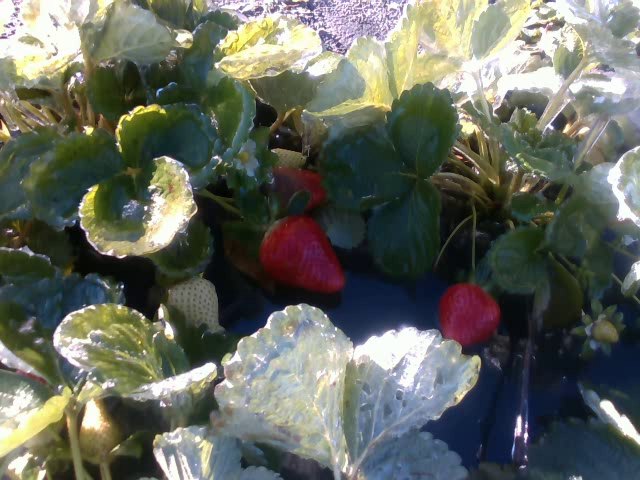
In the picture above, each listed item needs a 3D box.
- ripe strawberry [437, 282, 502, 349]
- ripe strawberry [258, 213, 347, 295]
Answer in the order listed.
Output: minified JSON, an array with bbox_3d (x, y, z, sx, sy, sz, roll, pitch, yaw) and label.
[{"bbox_3d":[0.081,0.044,0.326,0.039,0.047,0.040,36,-31,3],"label":"ripe strawberry"},{"bbox_3d":[-0.007,0.009,0.338,0.044,0.056,0.040,-42,-8,-19],"label":"ripe strawberry"}]
